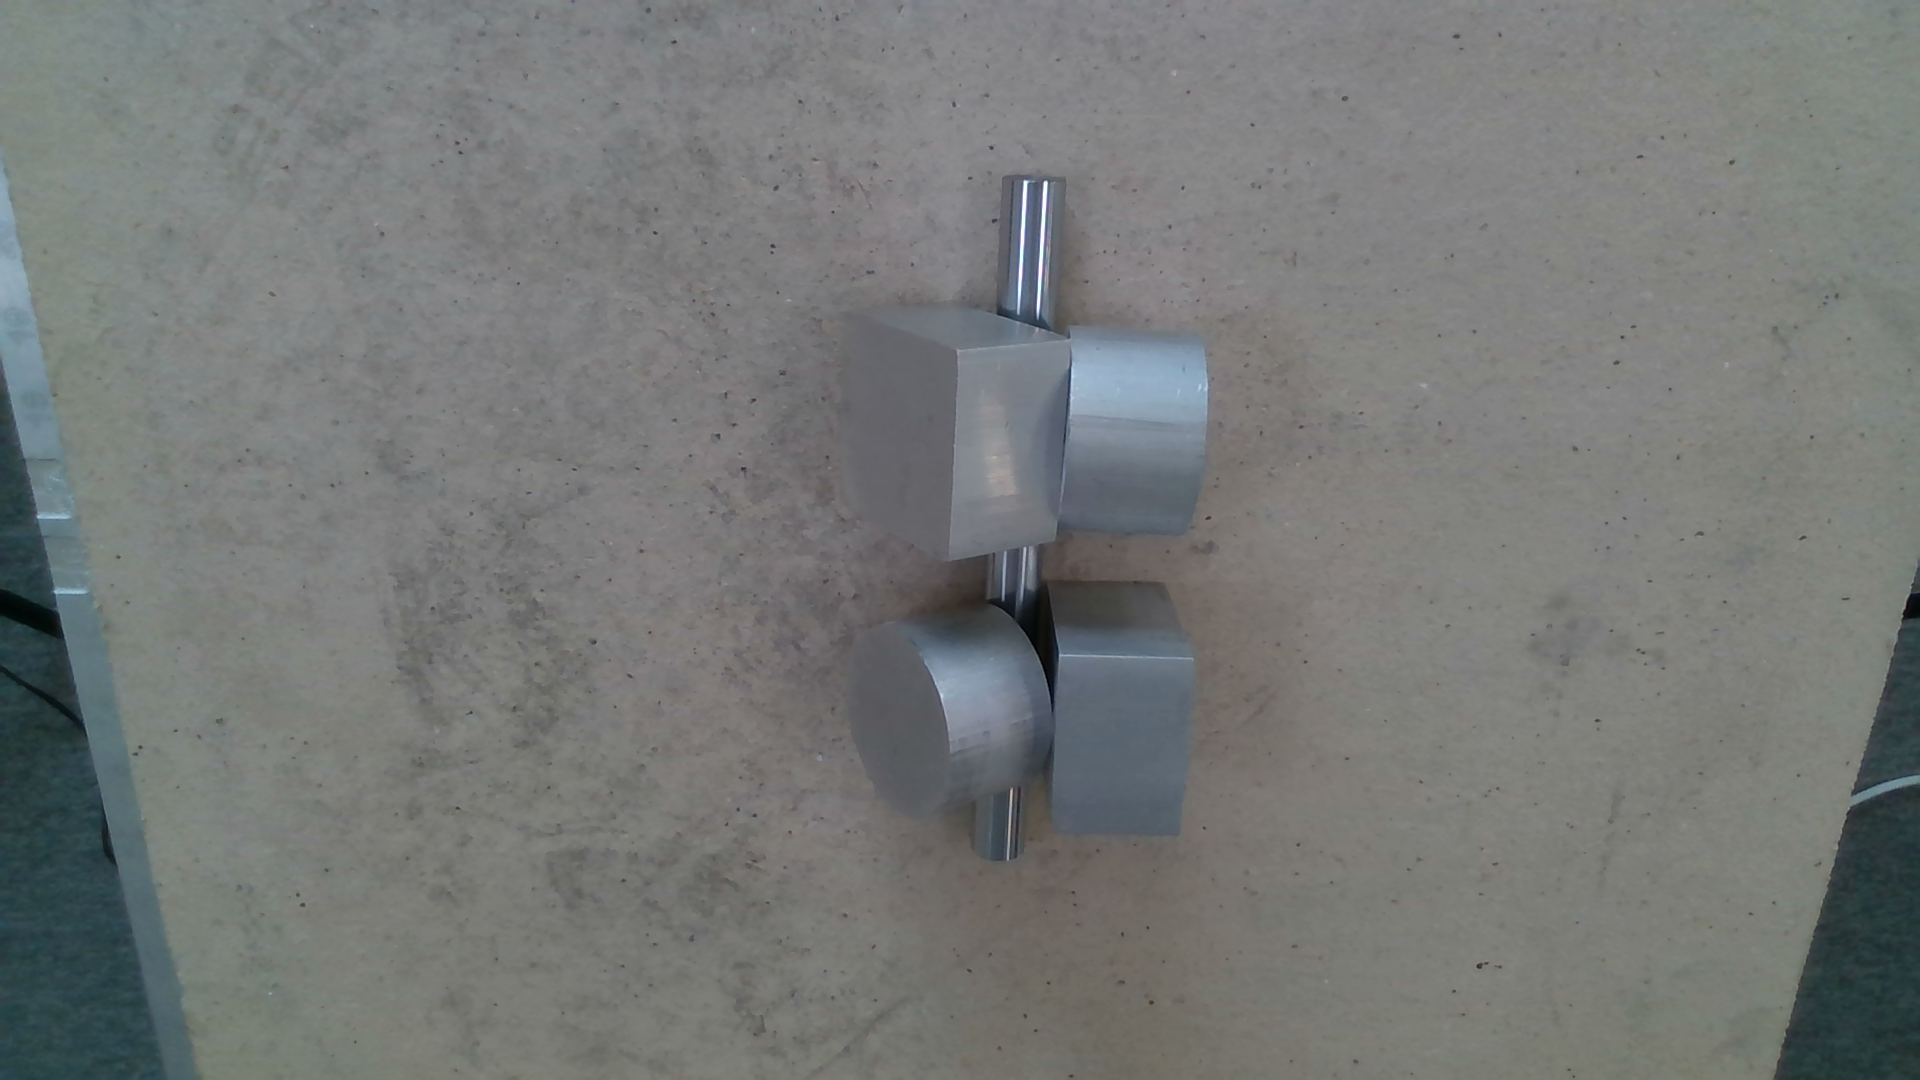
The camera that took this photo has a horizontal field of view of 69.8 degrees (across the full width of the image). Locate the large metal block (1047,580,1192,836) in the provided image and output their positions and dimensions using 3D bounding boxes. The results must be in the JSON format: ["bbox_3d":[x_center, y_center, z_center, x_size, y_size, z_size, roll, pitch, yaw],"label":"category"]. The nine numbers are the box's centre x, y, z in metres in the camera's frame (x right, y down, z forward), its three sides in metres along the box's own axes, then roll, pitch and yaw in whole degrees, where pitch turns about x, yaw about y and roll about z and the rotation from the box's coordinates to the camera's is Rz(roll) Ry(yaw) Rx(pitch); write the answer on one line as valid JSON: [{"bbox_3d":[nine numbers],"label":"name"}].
[{"bbox_3d":[0.063,0.068,0.581,0.050,0.080,0.080,1,110,0],"label":"large metal block"}]

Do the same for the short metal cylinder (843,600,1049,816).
[{"bbox_3d":[-0.007,0.069,0.575,0.050,0.080,0.080,-12,114,-33],"label":"short metal cylinder"}]

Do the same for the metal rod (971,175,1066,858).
[{"bbox_3d":[0.023,0.000,0.587,0.025,0.025,0.301,2,110,-1],"label":"metal rod"}]

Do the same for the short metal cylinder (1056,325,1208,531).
[{"bbox_3d":[0.064,-0.044,0.539,0.050,0.080,0.080,3,110,-1],"label":"short metal cylinder"}]

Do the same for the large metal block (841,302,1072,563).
[{"bbox_3d":[-0.004,-0.045,0.533,0.050,0.080,0.080,-11,115,-33],"label":"large metal block"}]
